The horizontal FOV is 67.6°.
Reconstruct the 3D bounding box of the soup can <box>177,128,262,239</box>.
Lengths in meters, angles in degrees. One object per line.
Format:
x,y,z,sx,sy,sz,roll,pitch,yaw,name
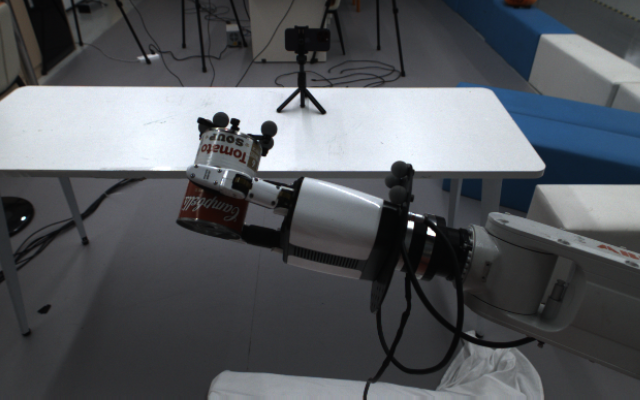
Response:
-0.102,-0.016,0.510,0.067,0.067,0.101,9,74,9,soup can
